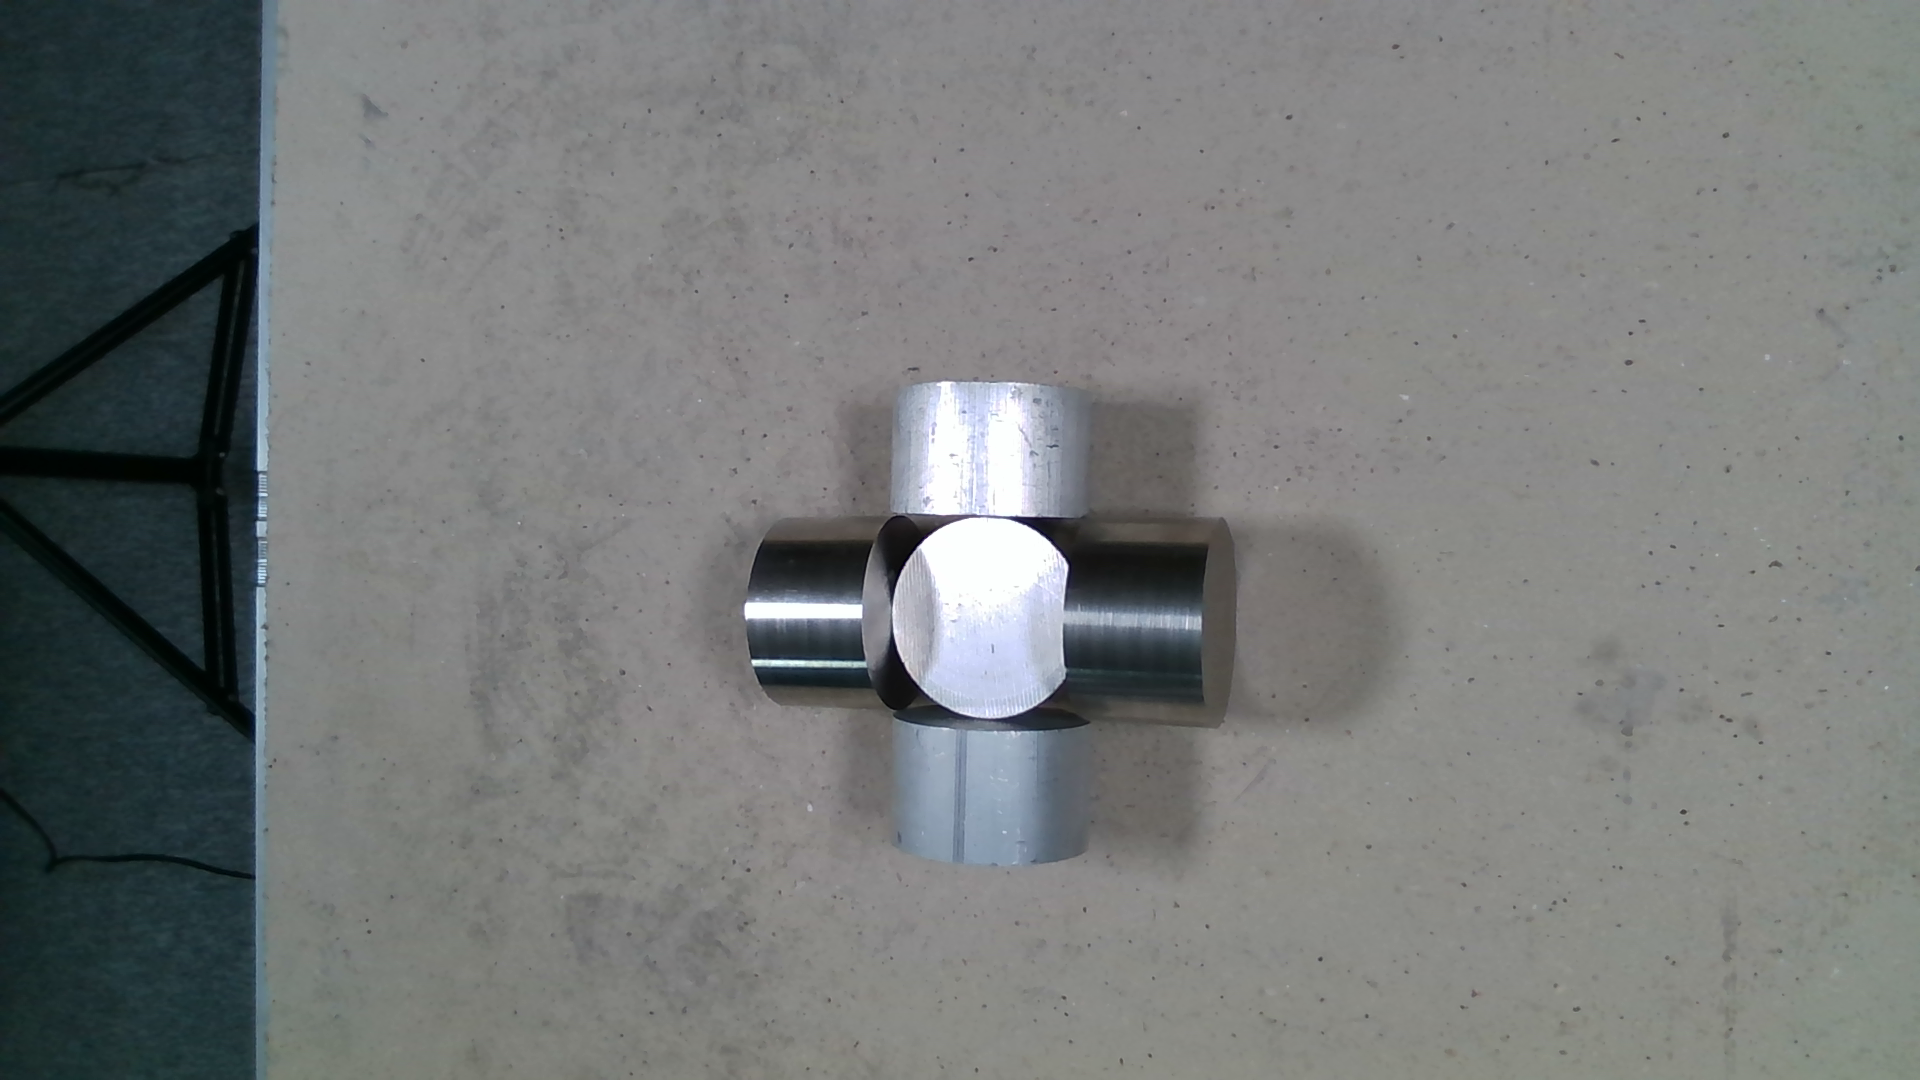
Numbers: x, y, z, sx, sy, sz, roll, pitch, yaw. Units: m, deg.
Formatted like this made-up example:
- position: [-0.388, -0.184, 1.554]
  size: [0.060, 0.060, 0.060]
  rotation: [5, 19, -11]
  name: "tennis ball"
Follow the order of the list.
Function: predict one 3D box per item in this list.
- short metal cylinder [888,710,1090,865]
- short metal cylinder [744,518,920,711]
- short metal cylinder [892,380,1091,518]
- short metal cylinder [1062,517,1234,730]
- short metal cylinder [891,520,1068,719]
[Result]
- position: [0.012, 0.096, 0.553]
  size: [0.080, 0.080, 0.050]
  rotation: [2, 91, 20]
  name: "short metal cylinder"
- position: [-0.049, 0.030, 0.574]
  size: [0.050, 0.080, 0.080]
  rotation: [0, 90, 20]
  name: "short metal cylinder"
- position: [0.012, -0.035, 0.552]
  size: [0.080, 0.080, 0.050]
  rotation: [2, 91, 20]
  name: "short metal cylinder"
- position: [0.075, 0.031, 0.528]
  size: [0.050, 0.080, 0.080]
  rotation: [2, 91, 21]
  name: "short metal cylinder"
- position: [0.018, 0.031, 0.566]
  size: [0.080, 0.050, 0.080]
  rotation: [0, 90, 20]
  name: "short metal cylinder"
